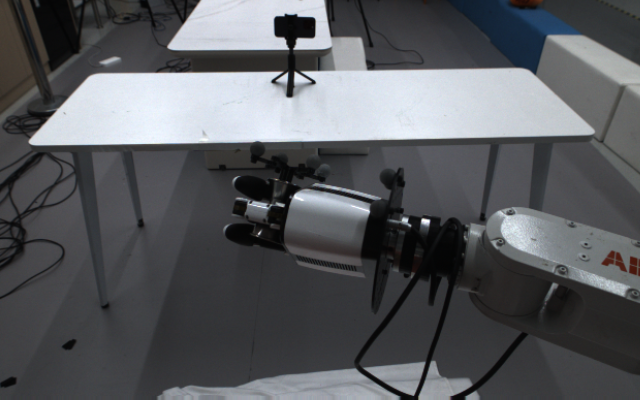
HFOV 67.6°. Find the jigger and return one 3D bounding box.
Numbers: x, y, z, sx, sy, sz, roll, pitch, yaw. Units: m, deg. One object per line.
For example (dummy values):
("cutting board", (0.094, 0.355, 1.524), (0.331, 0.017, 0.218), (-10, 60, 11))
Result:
("jigger", (-0.049, 0.012, 0.552), (0.043, 0.071, 0.043), (15, -7, 2))
